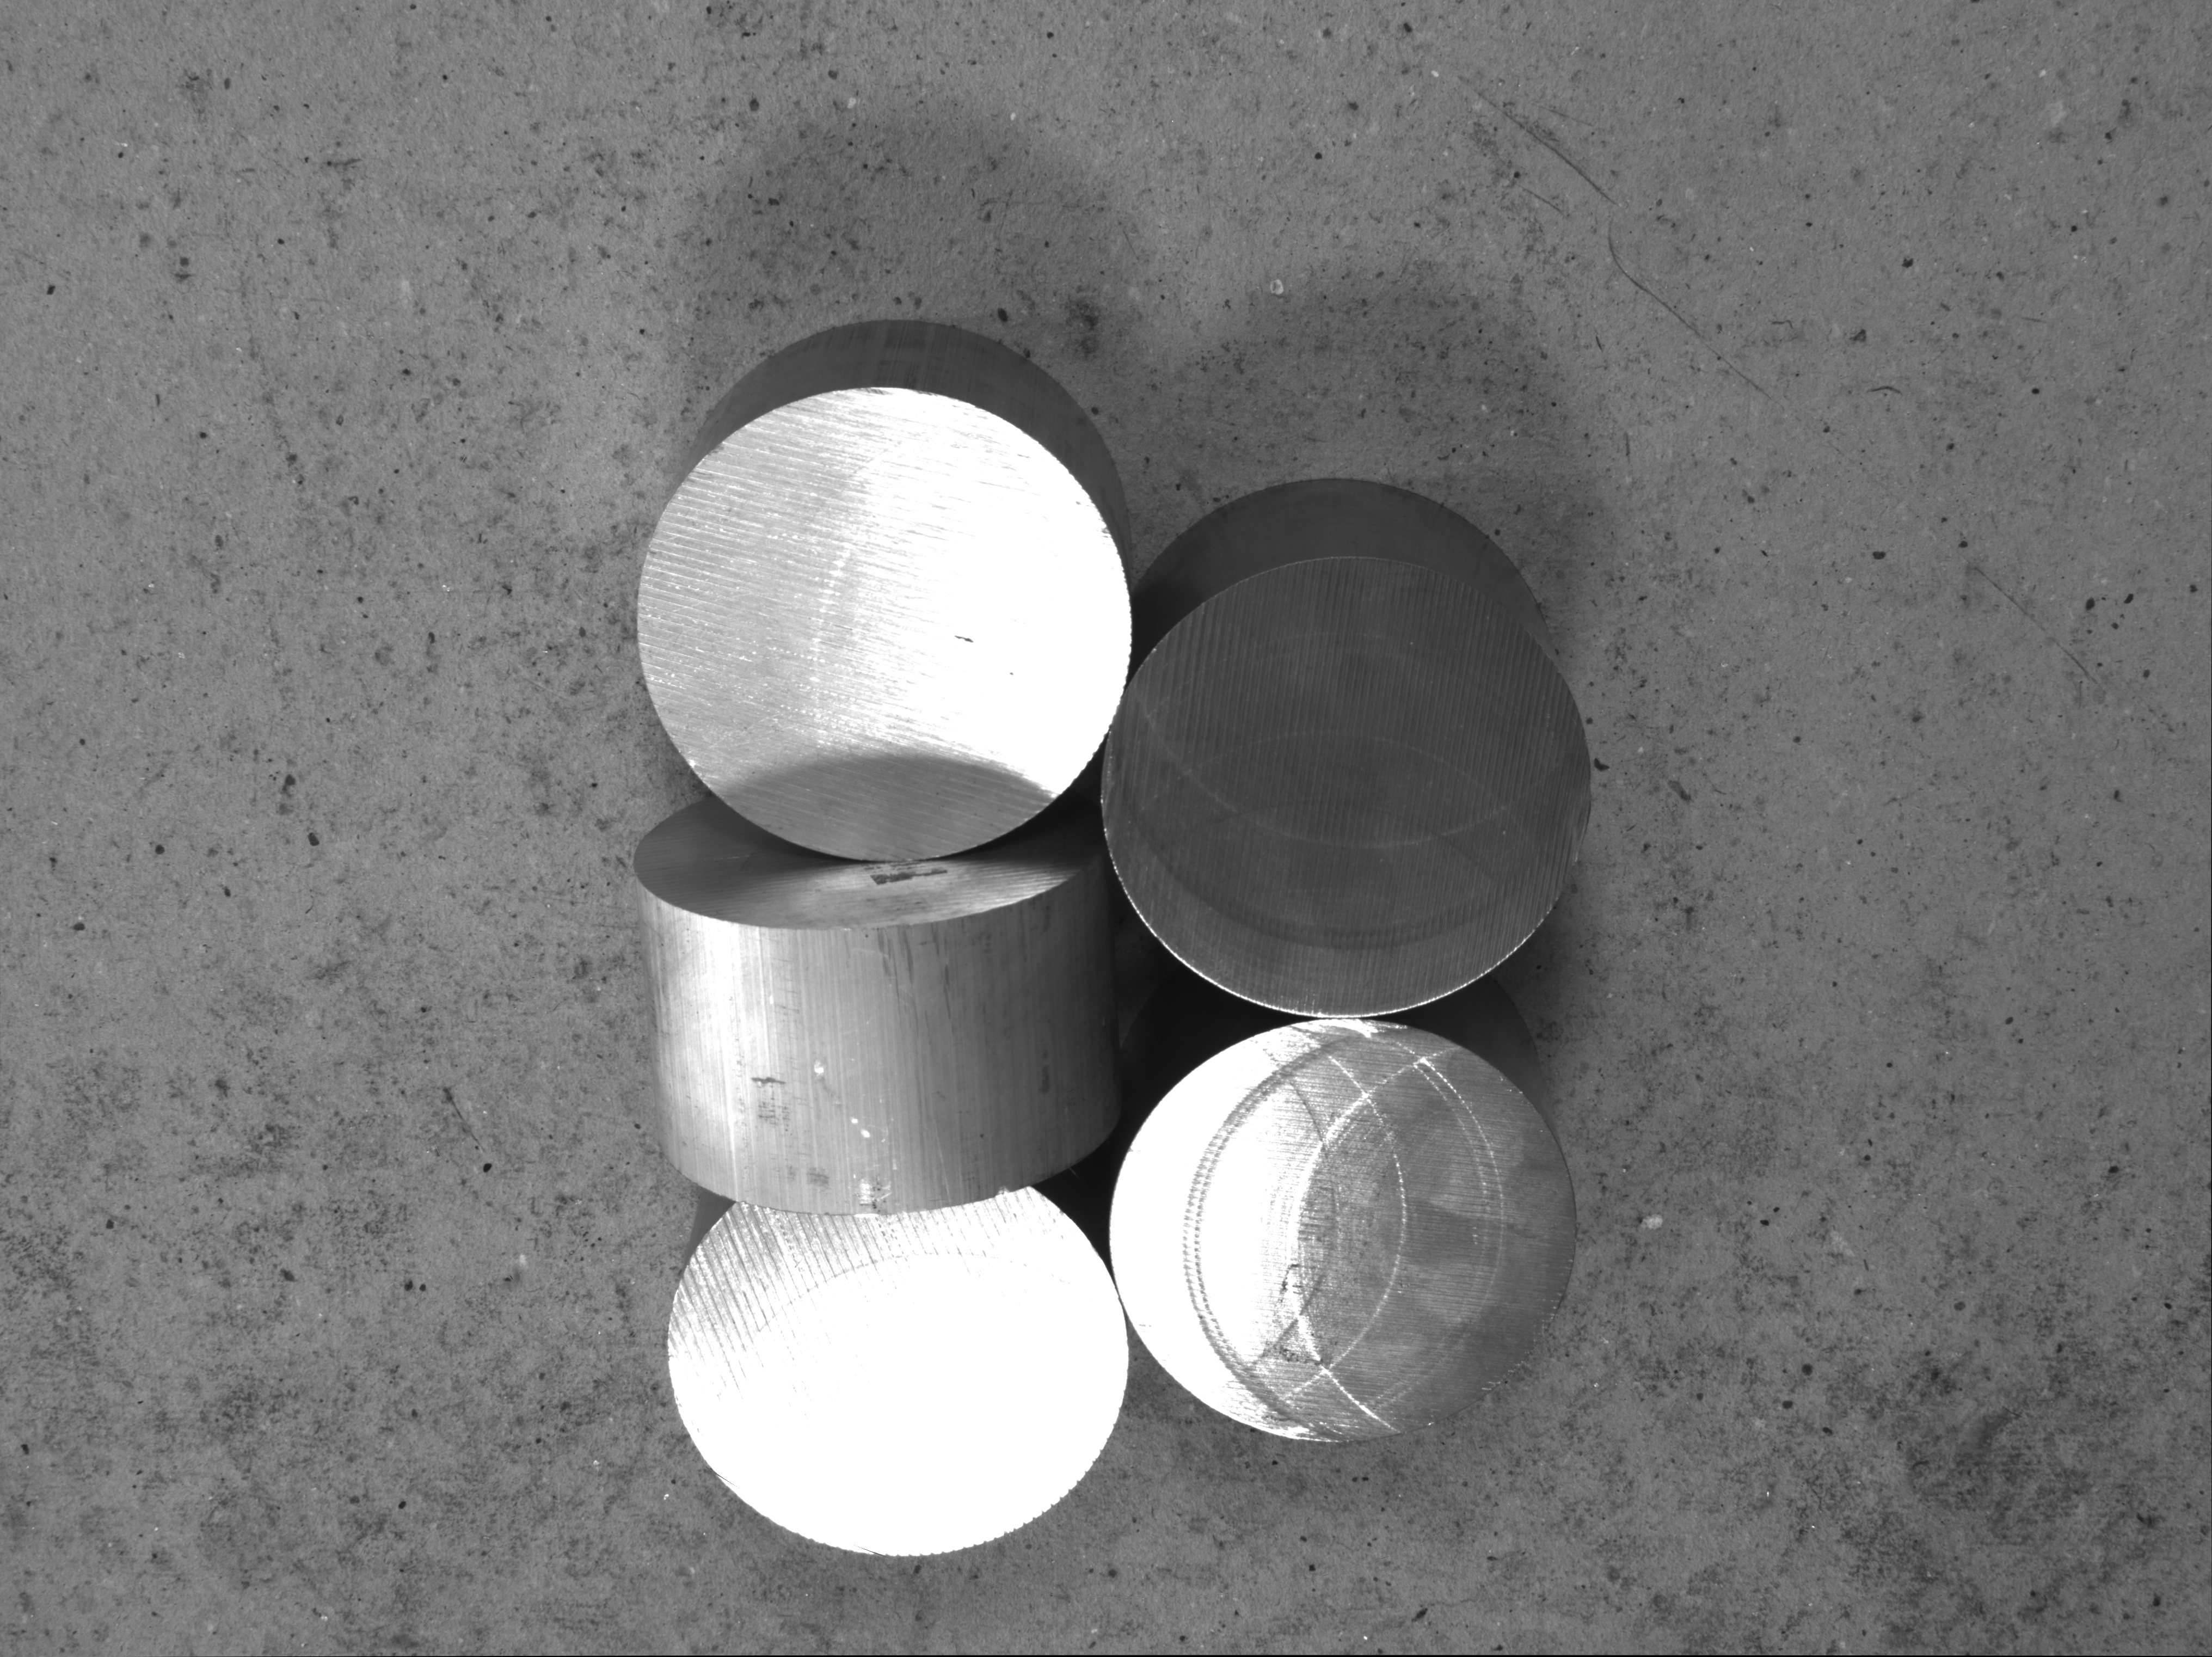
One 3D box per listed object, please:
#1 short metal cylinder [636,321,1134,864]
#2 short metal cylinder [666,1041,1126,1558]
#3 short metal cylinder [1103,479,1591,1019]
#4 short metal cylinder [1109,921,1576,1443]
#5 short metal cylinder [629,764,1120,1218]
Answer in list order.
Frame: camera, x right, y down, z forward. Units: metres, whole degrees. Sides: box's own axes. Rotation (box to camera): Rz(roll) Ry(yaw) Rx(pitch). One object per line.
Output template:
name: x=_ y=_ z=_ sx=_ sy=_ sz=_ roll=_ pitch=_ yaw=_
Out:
short metal cylinder: x=-0.035 y=-0.040 z=0.615 sx=0.080 sy=0.050 sz=0.080 roll=0 pitch=110 yaw=1
short metal cylinder: x=-0.036 y=0.083 z=0.660 sx=0.080 sy=0.050 sz=0.080 roll=0 pitch=110 yaw=1
short metal cylinder: x=0.040 y=-0.014 z=0.625 sx=0.080 sy=0.050 sz=0.080 roll=0 pitch=110 yaw=0
short metal cylinder: x=0.041 y=0.062 z=0.652 sx=0.080 sy=0.050 sz=0.080 roll=0 pitch=110 yaw=1
short metal cylinder: x=-0.039 y=0.026 z=0.624 sx=0.080 sy=0.080 sz=0.050 roll=-3 pitch=110 yaw=1
